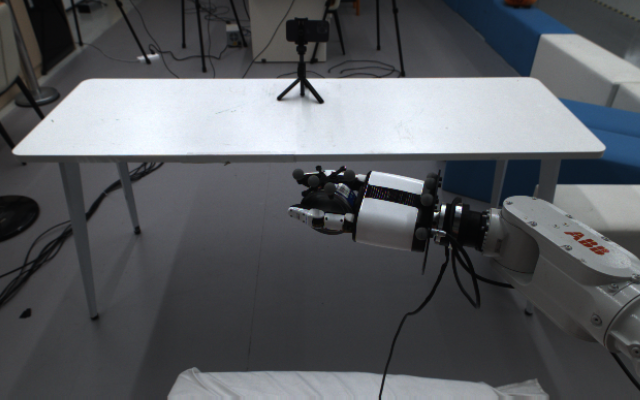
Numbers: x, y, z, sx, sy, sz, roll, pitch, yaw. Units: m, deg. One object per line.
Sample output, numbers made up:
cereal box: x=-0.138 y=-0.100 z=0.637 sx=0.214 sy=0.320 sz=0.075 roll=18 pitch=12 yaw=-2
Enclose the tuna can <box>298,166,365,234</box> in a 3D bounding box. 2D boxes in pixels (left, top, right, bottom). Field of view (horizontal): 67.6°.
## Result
tuna can: x=0.017 y=0.011 z=0.744 sx=0.085 sy=0.085 sz=0.034 roll=11 pitch=38 yaw=13
